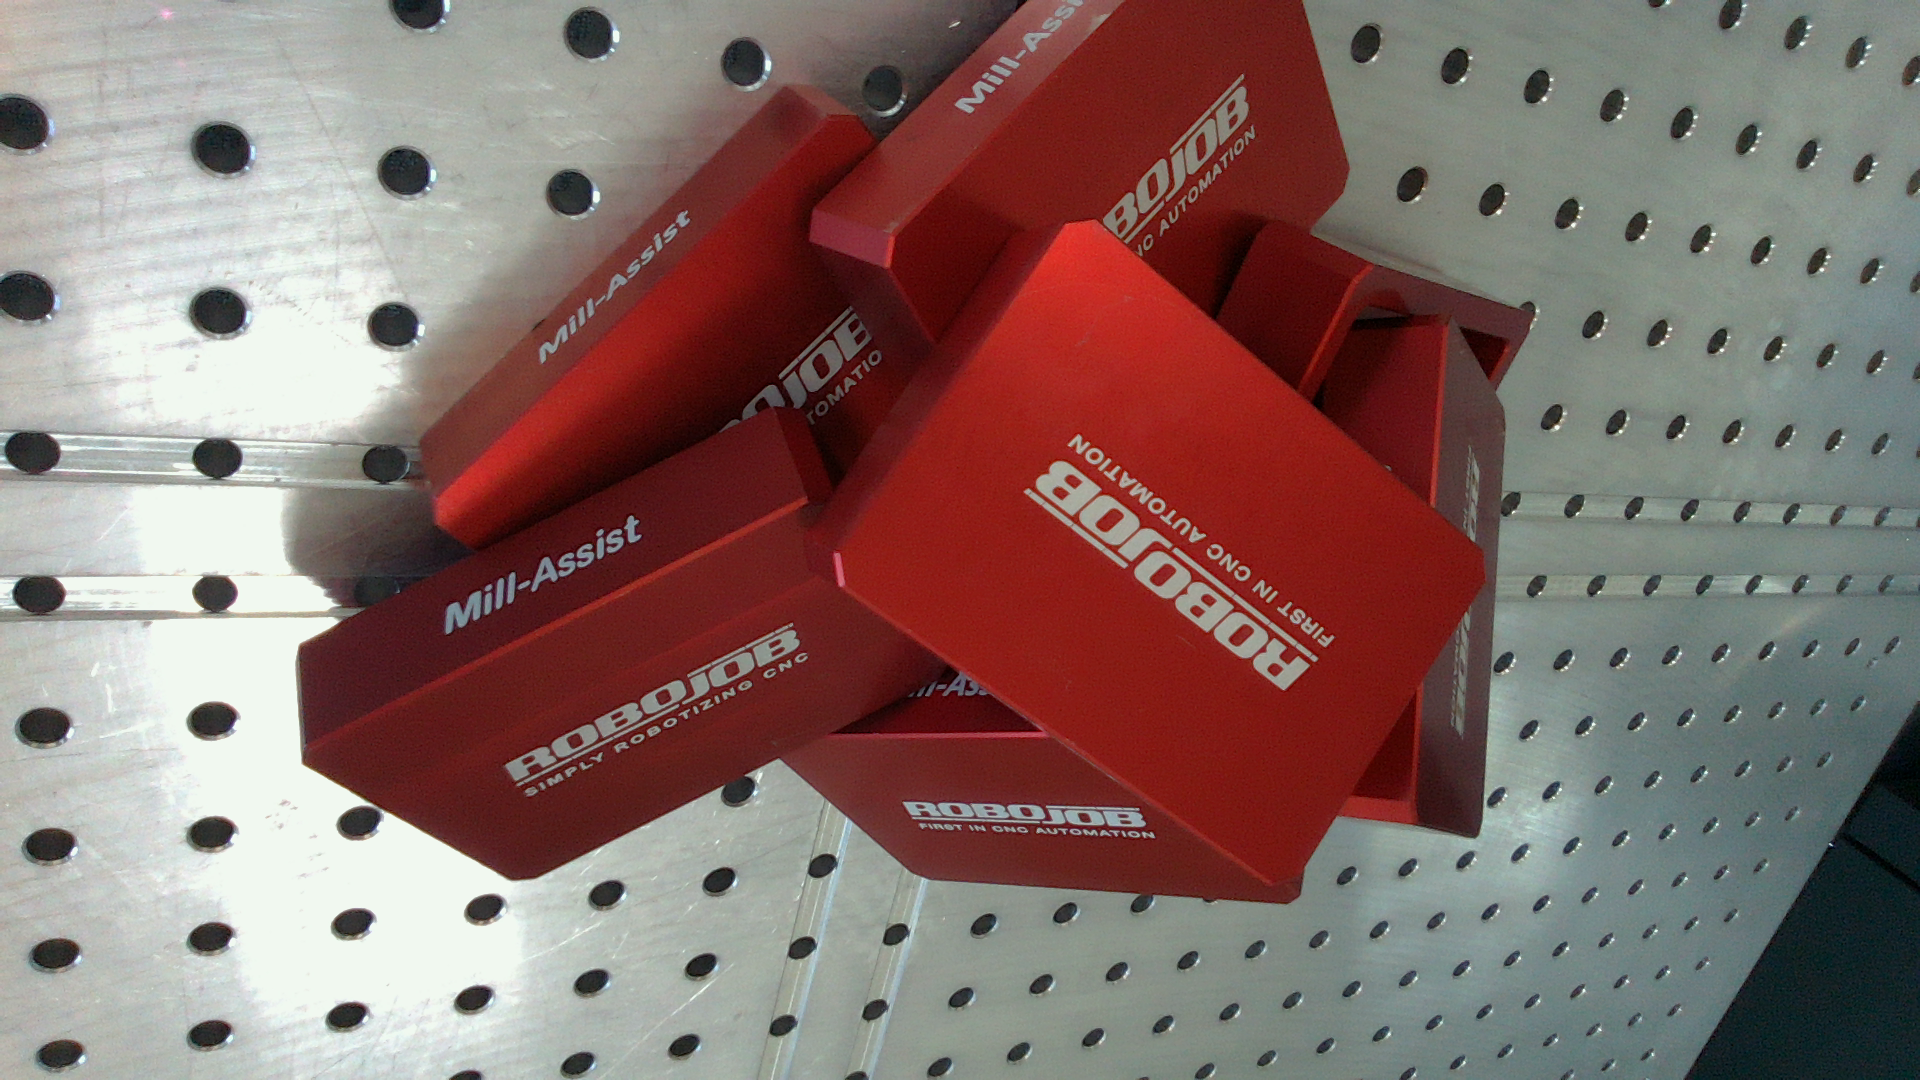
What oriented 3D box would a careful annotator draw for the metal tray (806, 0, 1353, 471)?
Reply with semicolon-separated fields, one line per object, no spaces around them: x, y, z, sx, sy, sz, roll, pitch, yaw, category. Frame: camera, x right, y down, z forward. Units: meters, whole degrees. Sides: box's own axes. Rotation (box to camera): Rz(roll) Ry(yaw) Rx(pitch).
0.035;-0.083;0.333;0.130;0.030;0.090;-47;132;-14;metal tray

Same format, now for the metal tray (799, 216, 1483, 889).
0.043;0.005;0.301;0.130;0.030;0.090;36;84;-19;metal tray

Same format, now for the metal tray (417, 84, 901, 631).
-0.053;-0.033;0.339;0.130;0.030;0.090;-44;129;2;metal tray

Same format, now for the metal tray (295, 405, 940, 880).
-0.077;0.030;0.336;0.130;0.030;0.090;-27;144;2;metal tray

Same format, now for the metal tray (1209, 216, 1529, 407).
0.110;-0.036;0.398;0.131;0.030;0.090;-1;121;-51;metal tray

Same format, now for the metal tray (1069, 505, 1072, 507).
0.066;0.016;0.396;0.030;0.090;0.130;-39;128;-1;metal tray

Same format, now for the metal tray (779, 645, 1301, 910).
0.021;0.066;0.384;0.090;0.129;0.030;51;47;-40;metal tray

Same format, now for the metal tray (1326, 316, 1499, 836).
0.125;0.014;0.384;0.090;0.030;0.130;24;71;-58;metal tray
